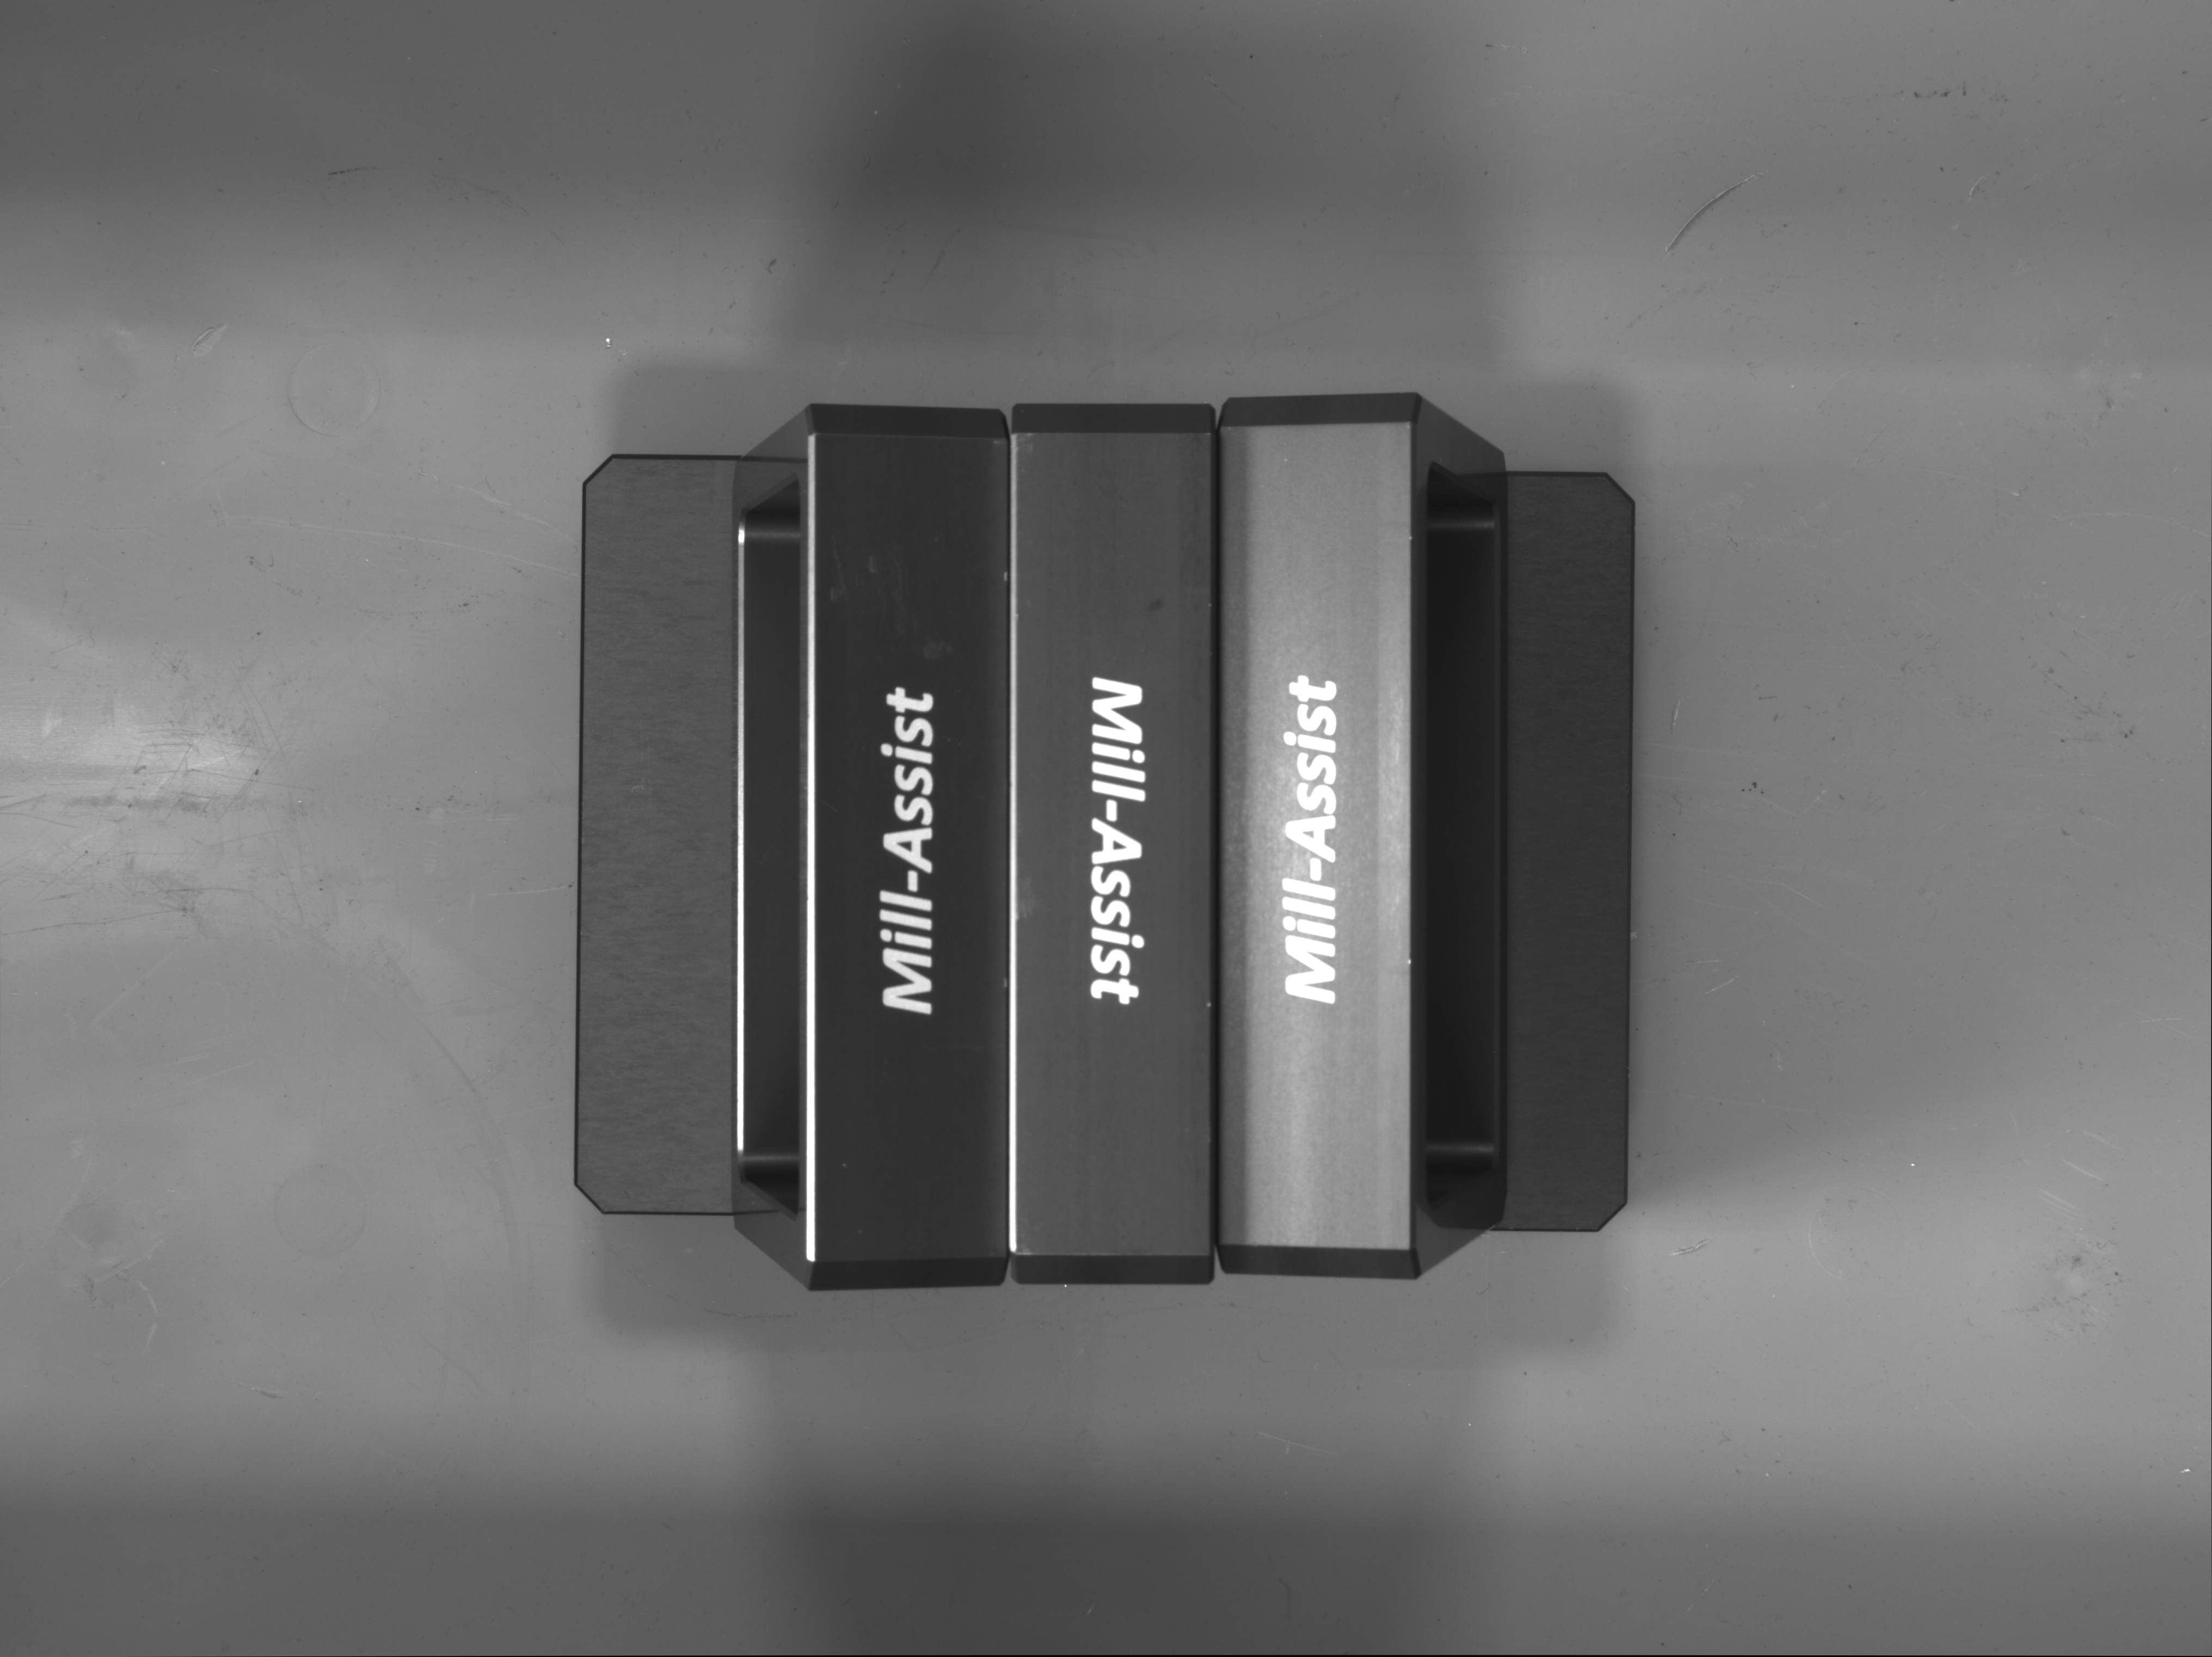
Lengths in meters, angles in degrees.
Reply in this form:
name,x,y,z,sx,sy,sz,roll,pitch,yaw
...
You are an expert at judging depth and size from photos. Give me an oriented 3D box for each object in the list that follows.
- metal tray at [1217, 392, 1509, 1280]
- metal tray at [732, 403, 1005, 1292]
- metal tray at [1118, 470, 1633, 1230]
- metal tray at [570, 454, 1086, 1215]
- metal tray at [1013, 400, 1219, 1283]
name,x,y,z,sx,sy,sz,roll,pitch,yaw
metal tray,0.042,0.001,0.579,0.030,0.090,0.130,0,90,15
metal tray,-0.039,0.003,0.579,0.030,0.090,0.130,0,90,-12
metal tray,0.045,0.003,0.642,0.090,0.030,0.130,1,90,0
metal tray,-0.046,0.001,0.641,0.090,0.030,0.130,1,90,0
metal tray,0.002,0.003,0.580,0.030,0.090,0.130,0,88,0
